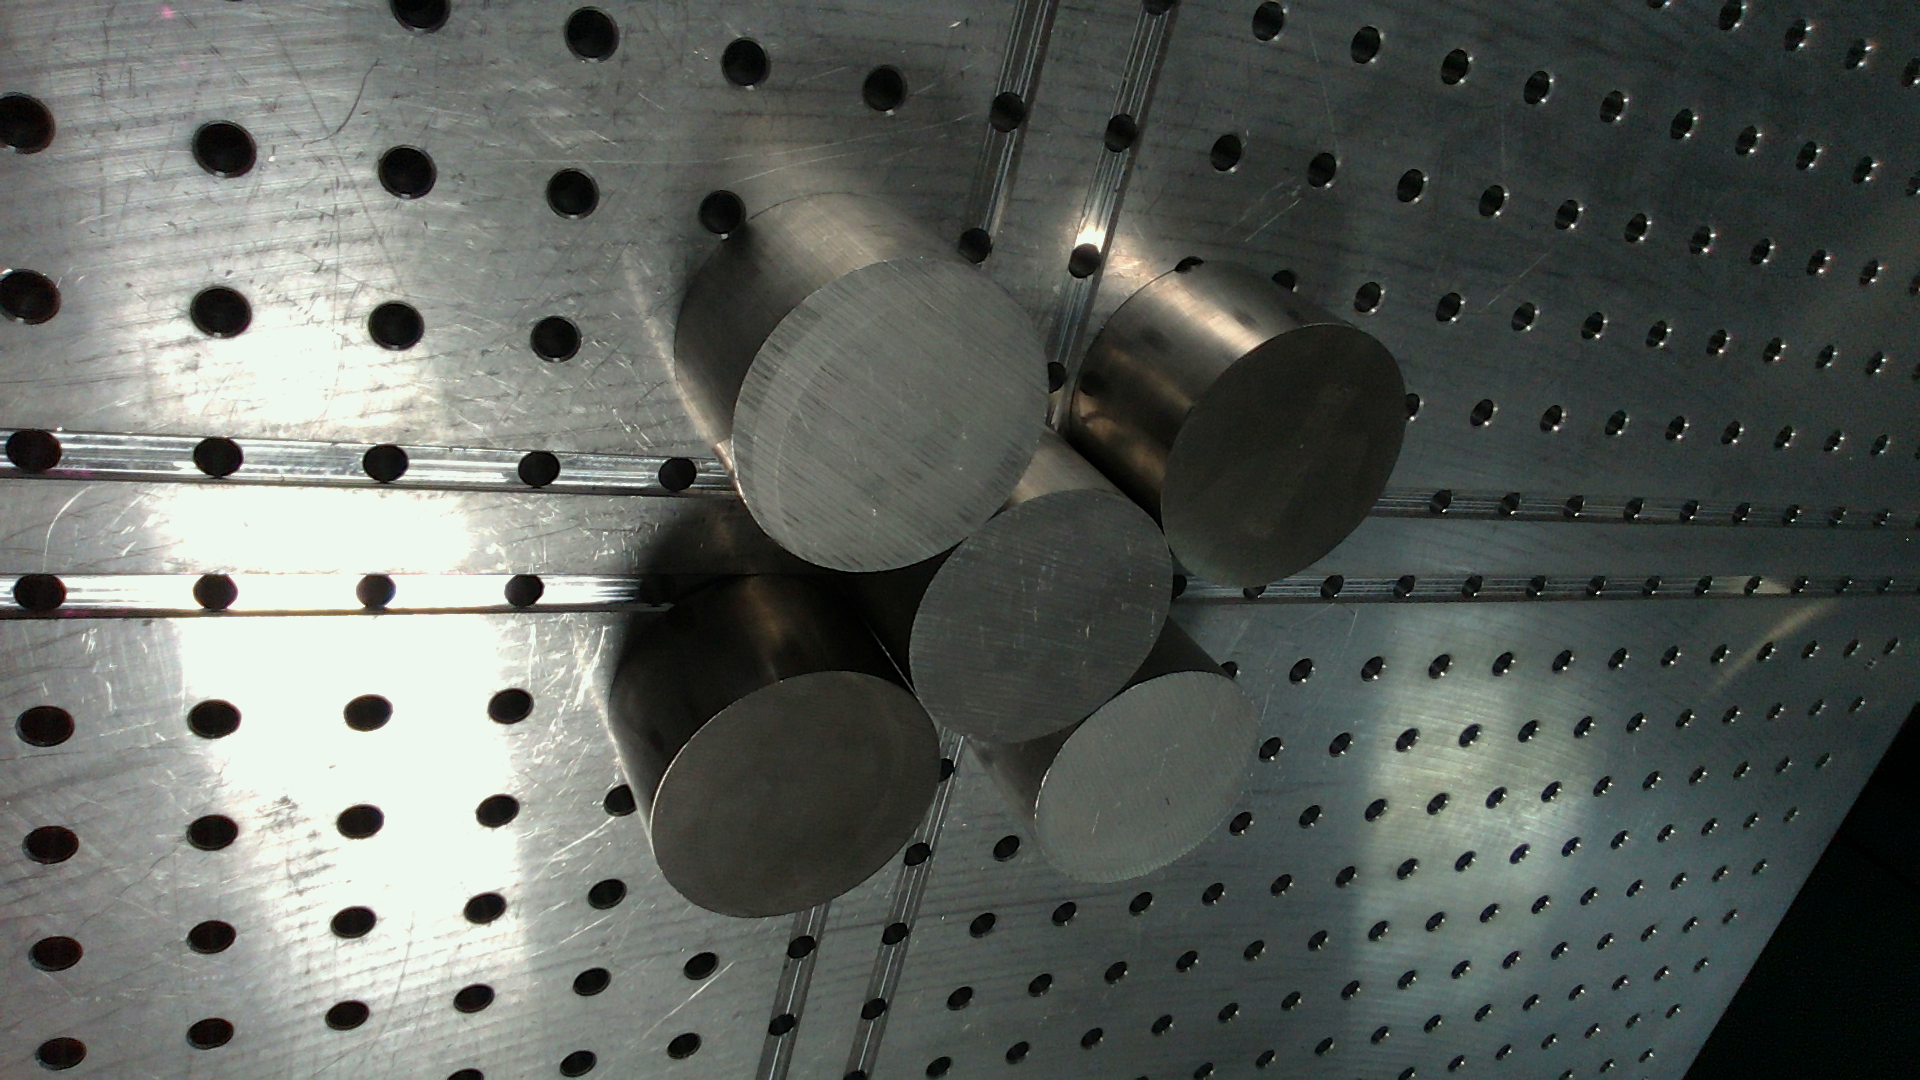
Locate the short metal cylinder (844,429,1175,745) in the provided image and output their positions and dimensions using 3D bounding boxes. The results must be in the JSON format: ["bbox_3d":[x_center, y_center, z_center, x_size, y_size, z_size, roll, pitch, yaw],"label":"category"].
[{"bbox_3d":[0.013,0.010,0.389,0.080,0.050,0.080,-14,124,-21],"label":"short metal cylinder"}]

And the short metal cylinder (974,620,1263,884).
[{"bbox_3d":[0.049,0.062,0.439,0.080,0.050,0.080,-14,124,-21],"label":"short metal cylinder"}]

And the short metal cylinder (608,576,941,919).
[{"bbox_3d":[-0.052,0.057,0.382,0.080,0.050,0.080,-14,124,-21],"label":"short metal cylinder"}]

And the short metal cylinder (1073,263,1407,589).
[{"bbox_3d":[0.080,-0.033,0.396,0.080,0.050,0.080,-14,124,-21],"label":"short metal cylinder"}]

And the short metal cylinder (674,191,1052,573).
[{"bbox_3d":[-0.025,-0.039,0.338,0.080,0.050,0.080,-14,124,-21],"label":"short metal cylinder"}]
